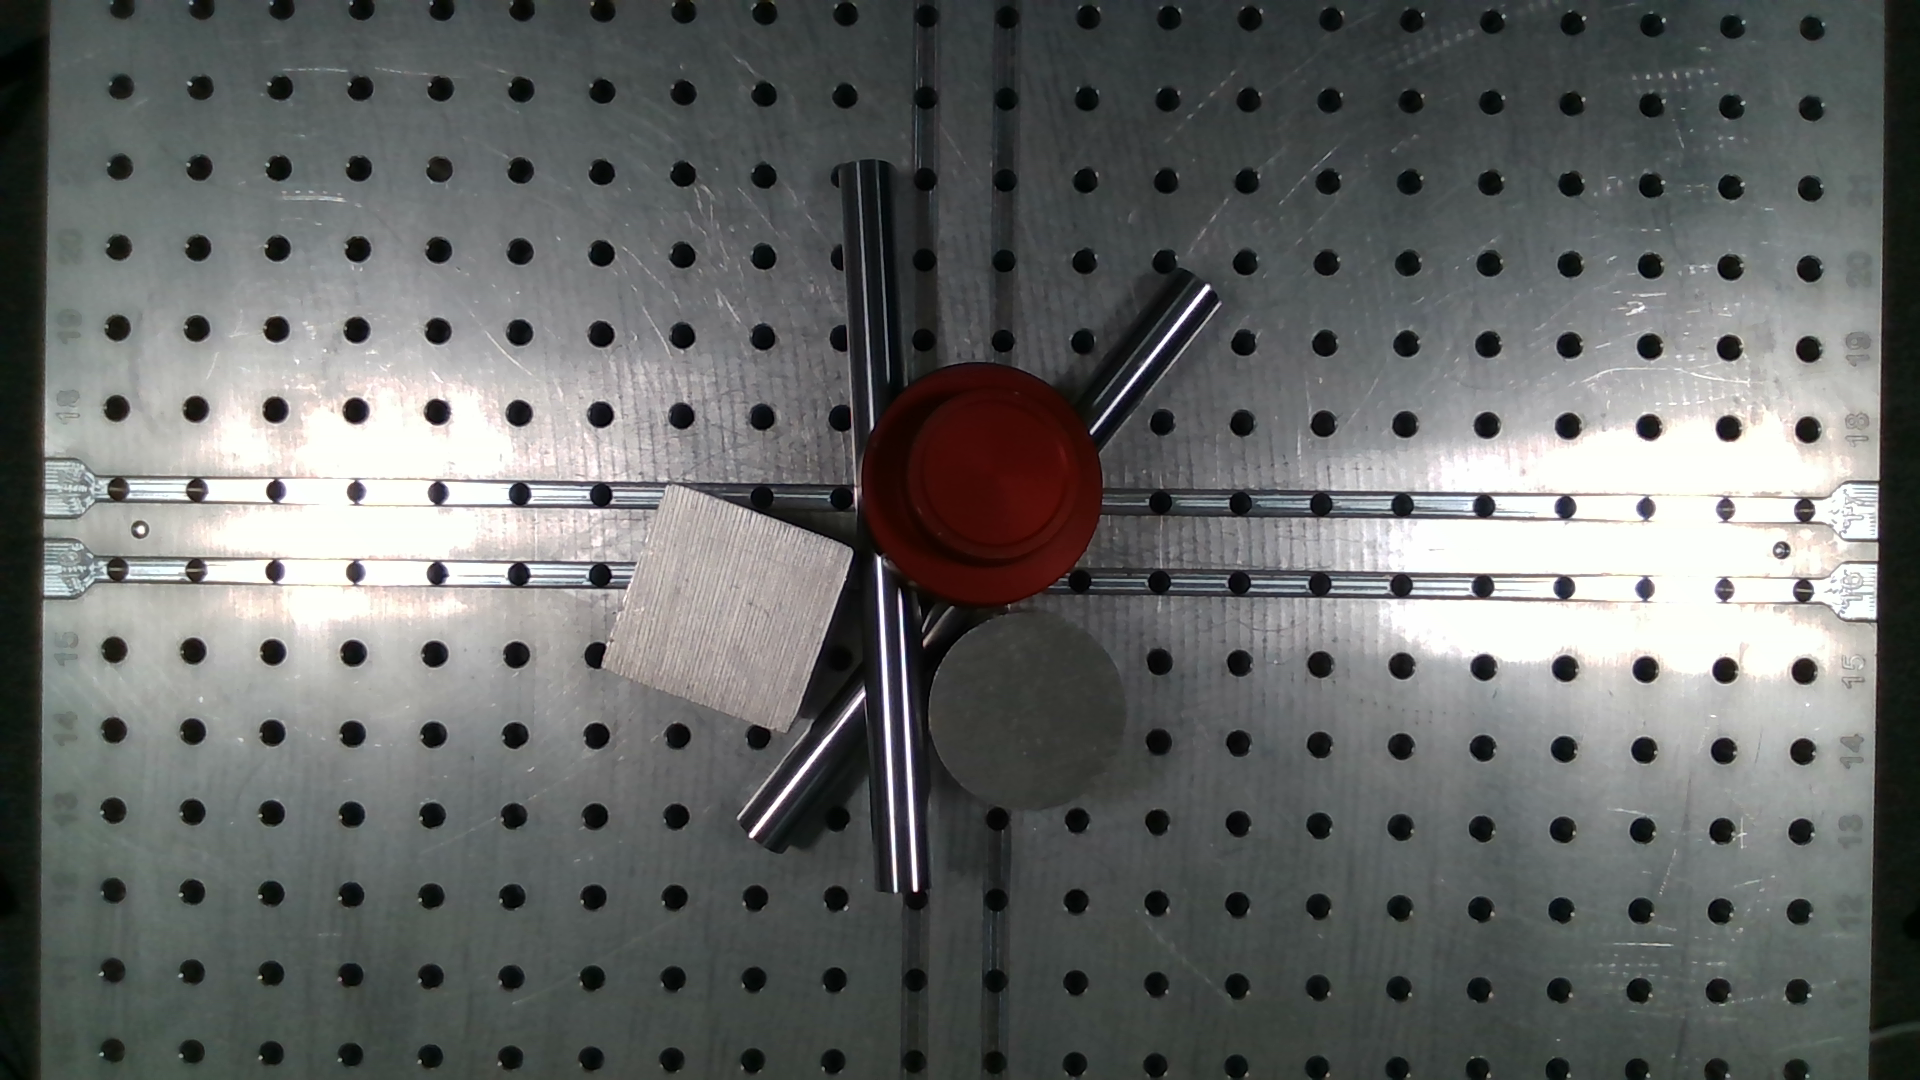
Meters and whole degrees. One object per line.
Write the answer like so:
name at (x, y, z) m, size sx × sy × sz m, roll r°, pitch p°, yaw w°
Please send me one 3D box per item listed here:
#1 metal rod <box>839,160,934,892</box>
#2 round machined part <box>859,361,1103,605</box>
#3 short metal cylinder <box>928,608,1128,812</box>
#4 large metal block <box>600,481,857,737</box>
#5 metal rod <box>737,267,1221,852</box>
metal rod at (-0.031, -0.009, 0.571) m, size 0.025 × 0.025 × 0.300 m, roll -3°, pitch 83°, yaw 0°
round machined part at (0.009, -0.023, 0.547) m, size 0.098 × 0.042 × 0.098 m, roll 1°, pitch 84°, yaw -9°
short metal cylinder at (0.027, 0.069, 0.577) m, size 0.080 × 0.050 × 0.080 m, roll 0°, pitch 90°, yaw 0°
large metal block at (-0.092, 0.028, 0.575) m, size 0.080 × 0.050 × 0.080 m, roll 20°, pitch 90°, yaw 0°
metal rod at (0.008, 0.009, 0.590) m, size 0.025 × 0.025 × 0.300 m, roll 39°, pitch 90°, yaw 0°
